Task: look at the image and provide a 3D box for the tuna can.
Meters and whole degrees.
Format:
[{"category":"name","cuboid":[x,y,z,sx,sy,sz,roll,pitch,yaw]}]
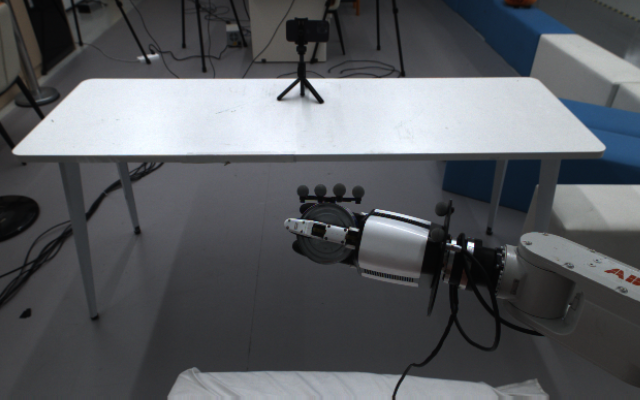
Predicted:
[{"category":"tuna can","cuboid":[0.014,0.046,0.676,0.085,0.085,0.034,13,-2,15]}]
